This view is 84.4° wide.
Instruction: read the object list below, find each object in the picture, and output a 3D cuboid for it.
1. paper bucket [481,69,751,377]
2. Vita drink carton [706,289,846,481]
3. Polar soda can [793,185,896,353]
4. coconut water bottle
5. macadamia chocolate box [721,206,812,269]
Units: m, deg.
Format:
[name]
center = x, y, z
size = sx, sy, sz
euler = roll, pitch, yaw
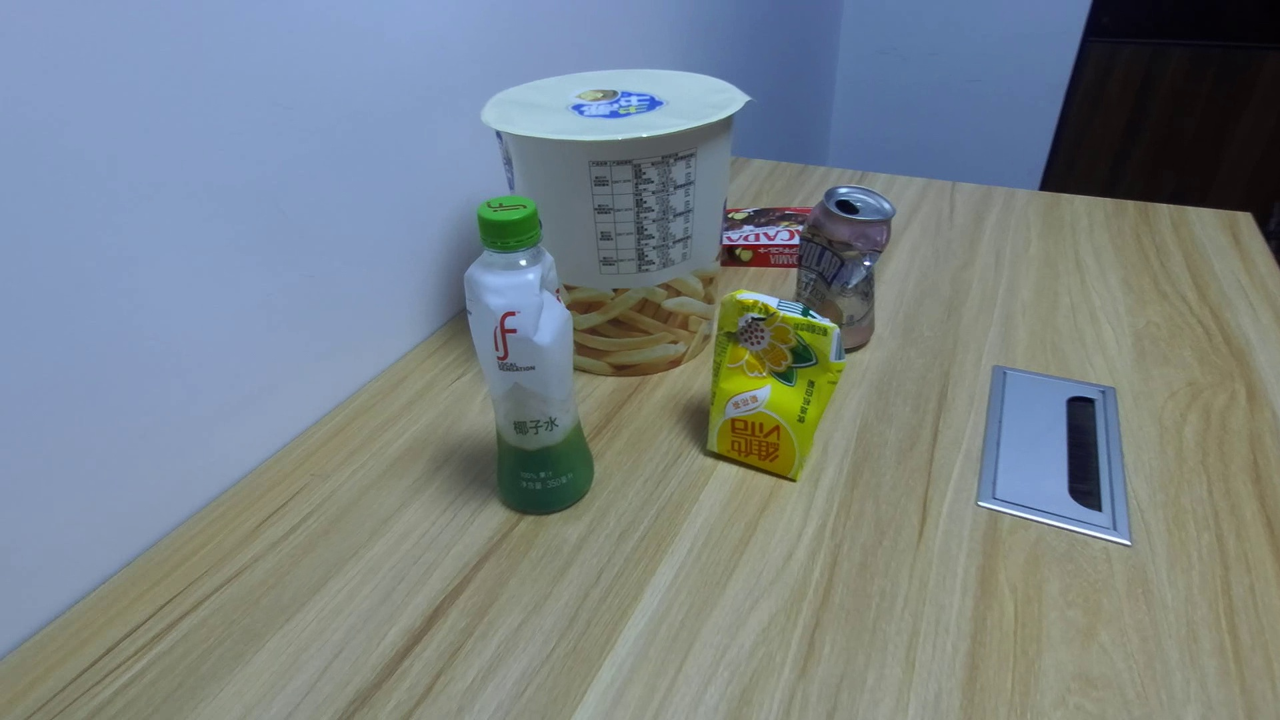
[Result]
[paper bucket]
center = -0.014, -0.107, 0.558
size = 0.198, 0.195, 0.198
euler = -2, 34, 2
[Vita drink carton]
center = 0.085, 0.013, 0.453
size = 0.086, 0.108, 0.042
euler = 17, 25, 22
[Polar soda can]
center = 0.166, -0.069, 0.561
size = 0.067, 0.122, 0.070
euler = -7, 33, -18
[coconut water bottle]
center = -0.063, 0.001, 0.407
size = 0.069, 0.186, 0.069
euler = -2, 35, 1
[macadamia chocolate box]
center = 0.115, -0.129, 0.732
size = 0.183, 0.028, 0.105
euler = 2, 34, 6
